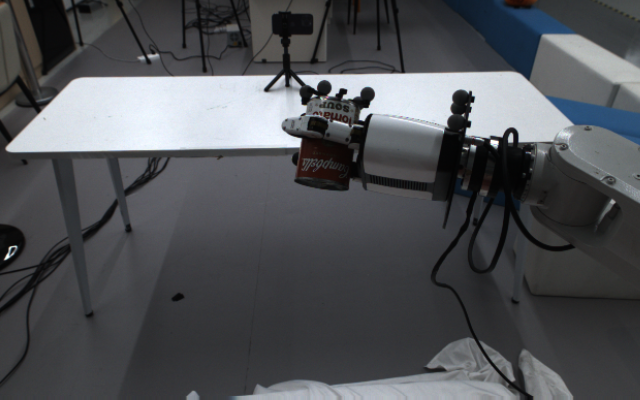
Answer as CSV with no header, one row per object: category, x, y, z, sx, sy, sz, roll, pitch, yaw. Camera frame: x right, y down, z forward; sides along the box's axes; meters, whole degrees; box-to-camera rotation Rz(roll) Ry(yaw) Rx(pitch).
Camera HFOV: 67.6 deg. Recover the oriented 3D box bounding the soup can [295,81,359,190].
soup can,0.011,-0.067,0.589,0.067,0.101,0.067,9,-6,1
